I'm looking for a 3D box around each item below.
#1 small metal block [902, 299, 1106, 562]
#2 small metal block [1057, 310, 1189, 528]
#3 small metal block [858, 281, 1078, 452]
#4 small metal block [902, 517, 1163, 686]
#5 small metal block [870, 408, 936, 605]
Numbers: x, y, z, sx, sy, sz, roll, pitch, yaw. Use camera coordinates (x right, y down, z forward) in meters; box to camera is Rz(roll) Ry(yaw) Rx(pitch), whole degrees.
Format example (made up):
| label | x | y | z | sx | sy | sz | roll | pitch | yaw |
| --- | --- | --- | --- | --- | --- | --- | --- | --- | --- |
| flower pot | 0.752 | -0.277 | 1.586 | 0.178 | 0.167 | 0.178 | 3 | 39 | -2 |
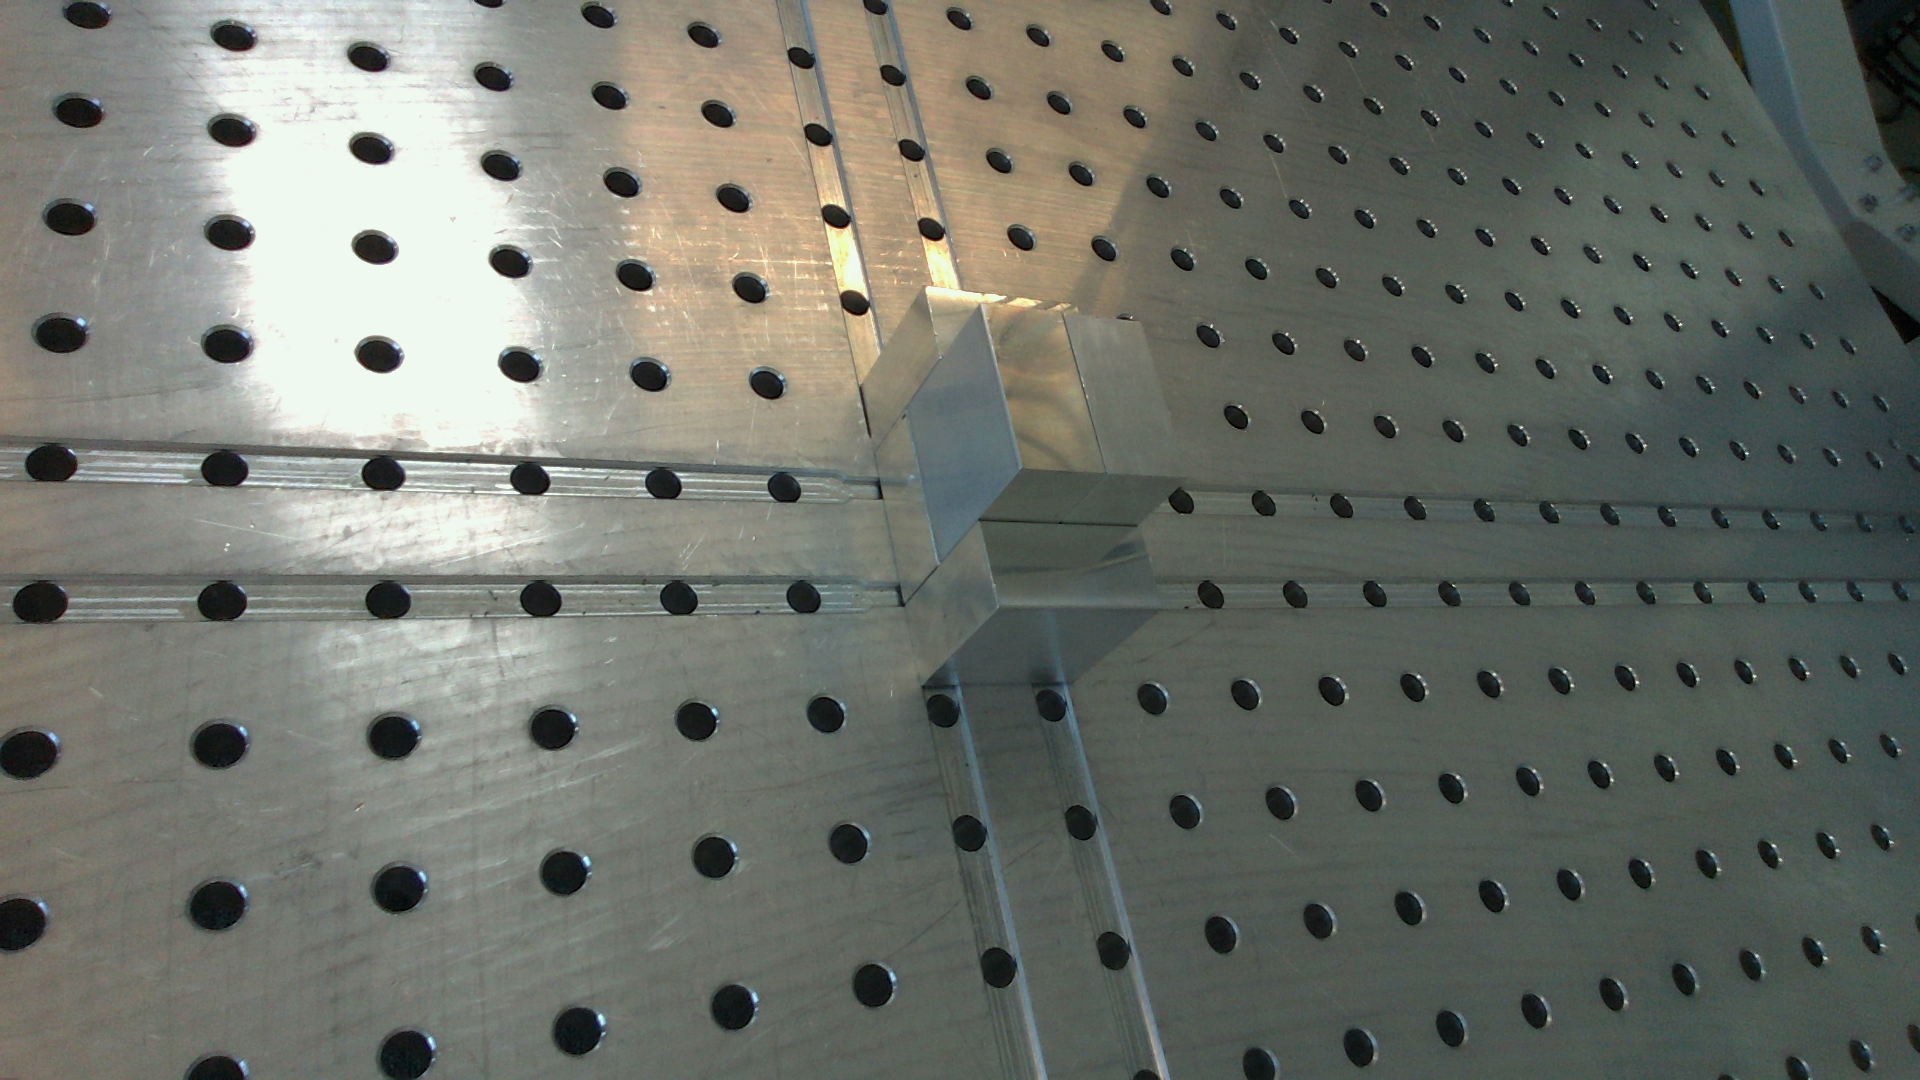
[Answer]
| label | x | y | z | sx | sy | sz | roll | pitch | yaw |
| --- | --- | --- | --- | --- | --- | --- | --- | --- | --- |
| small metal block | 0.010 | -0.028 | 0.366 | 0.025 | 0.050 | 0.050 | 2 | 61 | -27 |
| small metal block | 0.033 | -0.027 | 0.378 | 0.025 | 0.050 | 0.050 | 1 | 61 | -26 |
| small metal block | 0.004 | -0.048 | 0.407 | 0.050 | 0.050 | 0.025 | 2 | 61 | -27 |
| small metal block | 0.018 | 0.018 | 0.375 | 0.050 | 0.050 | 0.025 | 1 | 61 | -27 |
| small metal block | 0.005 | -0.009 | 0.401 | 0.050 | 0.025 | 0.050 | 1 | 61 | -26 |
